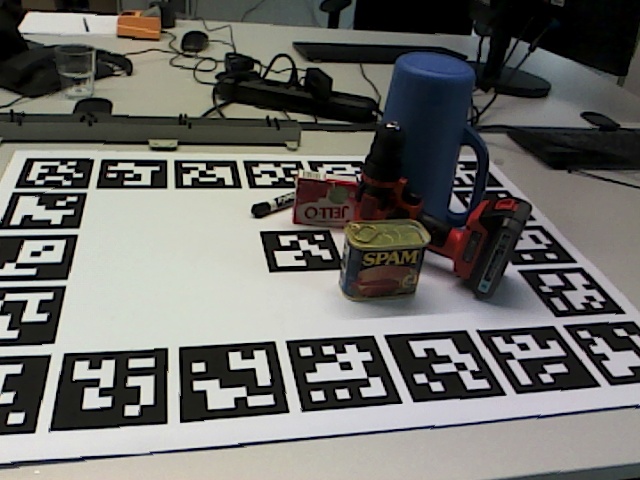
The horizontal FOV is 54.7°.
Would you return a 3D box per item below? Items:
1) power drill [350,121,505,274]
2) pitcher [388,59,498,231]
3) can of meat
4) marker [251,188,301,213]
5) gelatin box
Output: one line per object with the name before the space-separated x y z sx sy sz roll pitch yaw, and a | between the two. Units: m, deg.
power drill | 0.135 -0.047 0.803 0.187 0.184 0.057 23 39 13
pitcher | 0.163 -0.125 0.885 0.189 0.242 0.133 12 36 18
can of meat | 0.077 0.029 0.761 0.101 0.083 0.058 -2 32 -14
marker | -0.051 -0.064 0.937 0.120 0.019 0.020 -20 43 -34
gelatin box | 0.015 -0.055 0.892 0.089 0.073 0.030 6 37 -5
